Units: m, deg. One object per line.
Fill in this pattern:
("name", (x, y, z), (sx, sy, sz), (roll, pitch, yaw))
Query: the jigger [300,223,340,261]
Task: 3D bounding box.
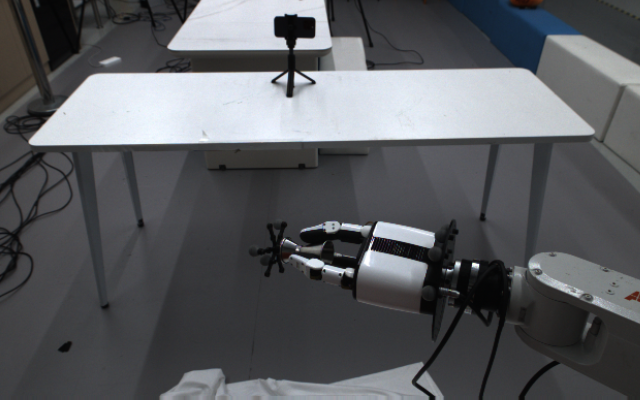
("jigger", (-0.011, 0.069, 0.694), (0.071, 0.043, 0.043), (3, 32, 26))
